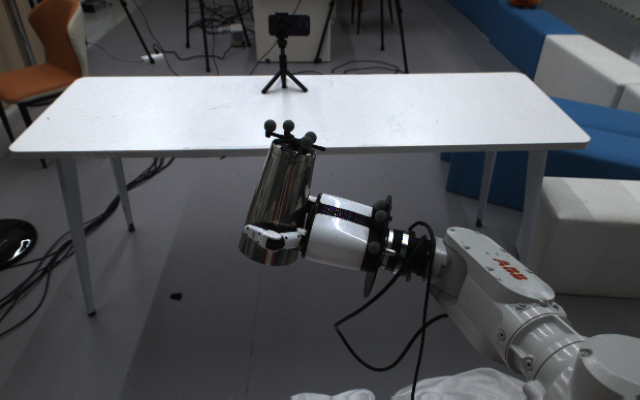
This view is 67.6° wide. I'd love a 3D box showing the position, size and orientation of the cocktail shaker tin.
[{"bbox_3d":[-0.058,0.000,0.715,0.093,0.170,0.093,14,20,-5],"label":"cocktail shaker tin"}]
